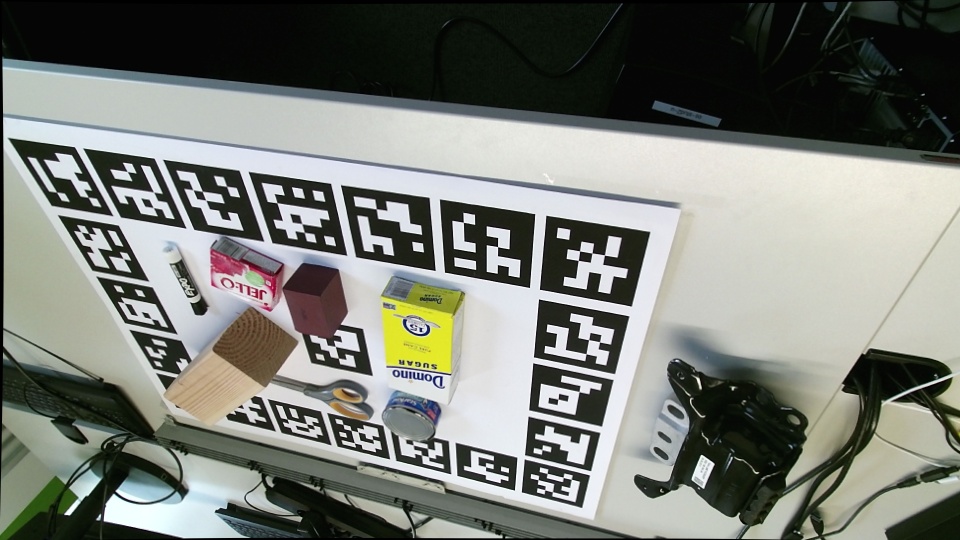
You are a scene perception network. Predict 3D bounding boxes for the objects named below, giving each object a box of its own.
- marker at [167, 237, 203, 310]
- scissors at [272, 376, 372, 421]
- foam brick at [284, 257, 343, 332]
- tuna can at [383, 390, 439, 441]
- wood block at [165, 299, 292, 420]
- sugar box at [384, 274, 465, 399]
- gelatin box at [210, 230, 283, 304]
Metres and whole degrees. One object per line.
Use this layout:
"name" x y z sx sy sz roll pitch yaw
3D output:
"marker" -0.417 0.009 0.760 0.020 0.019 0.121 11 127 9
"scissors" -0.271 0.189 0.857 0.203 0.016 0.088 15 129 4
"foam brick" -0.214 0.031 0.689 0.053 0.051 0.078 11 128 9
"tuna can" -0.105 0.219 0.811 0.086 0.033 0.086 9 128 11
"wood block" -0.392 0.139 0.813 0.206 0.090 0.090 -33 112 35
"sugar box" -0.076 0.091 0.701 0.093 0.045 0.176 14 129 8
"gelatin box" -0.311 -0.002 0.713 0.089 0.030 0.073 24 129 -2
